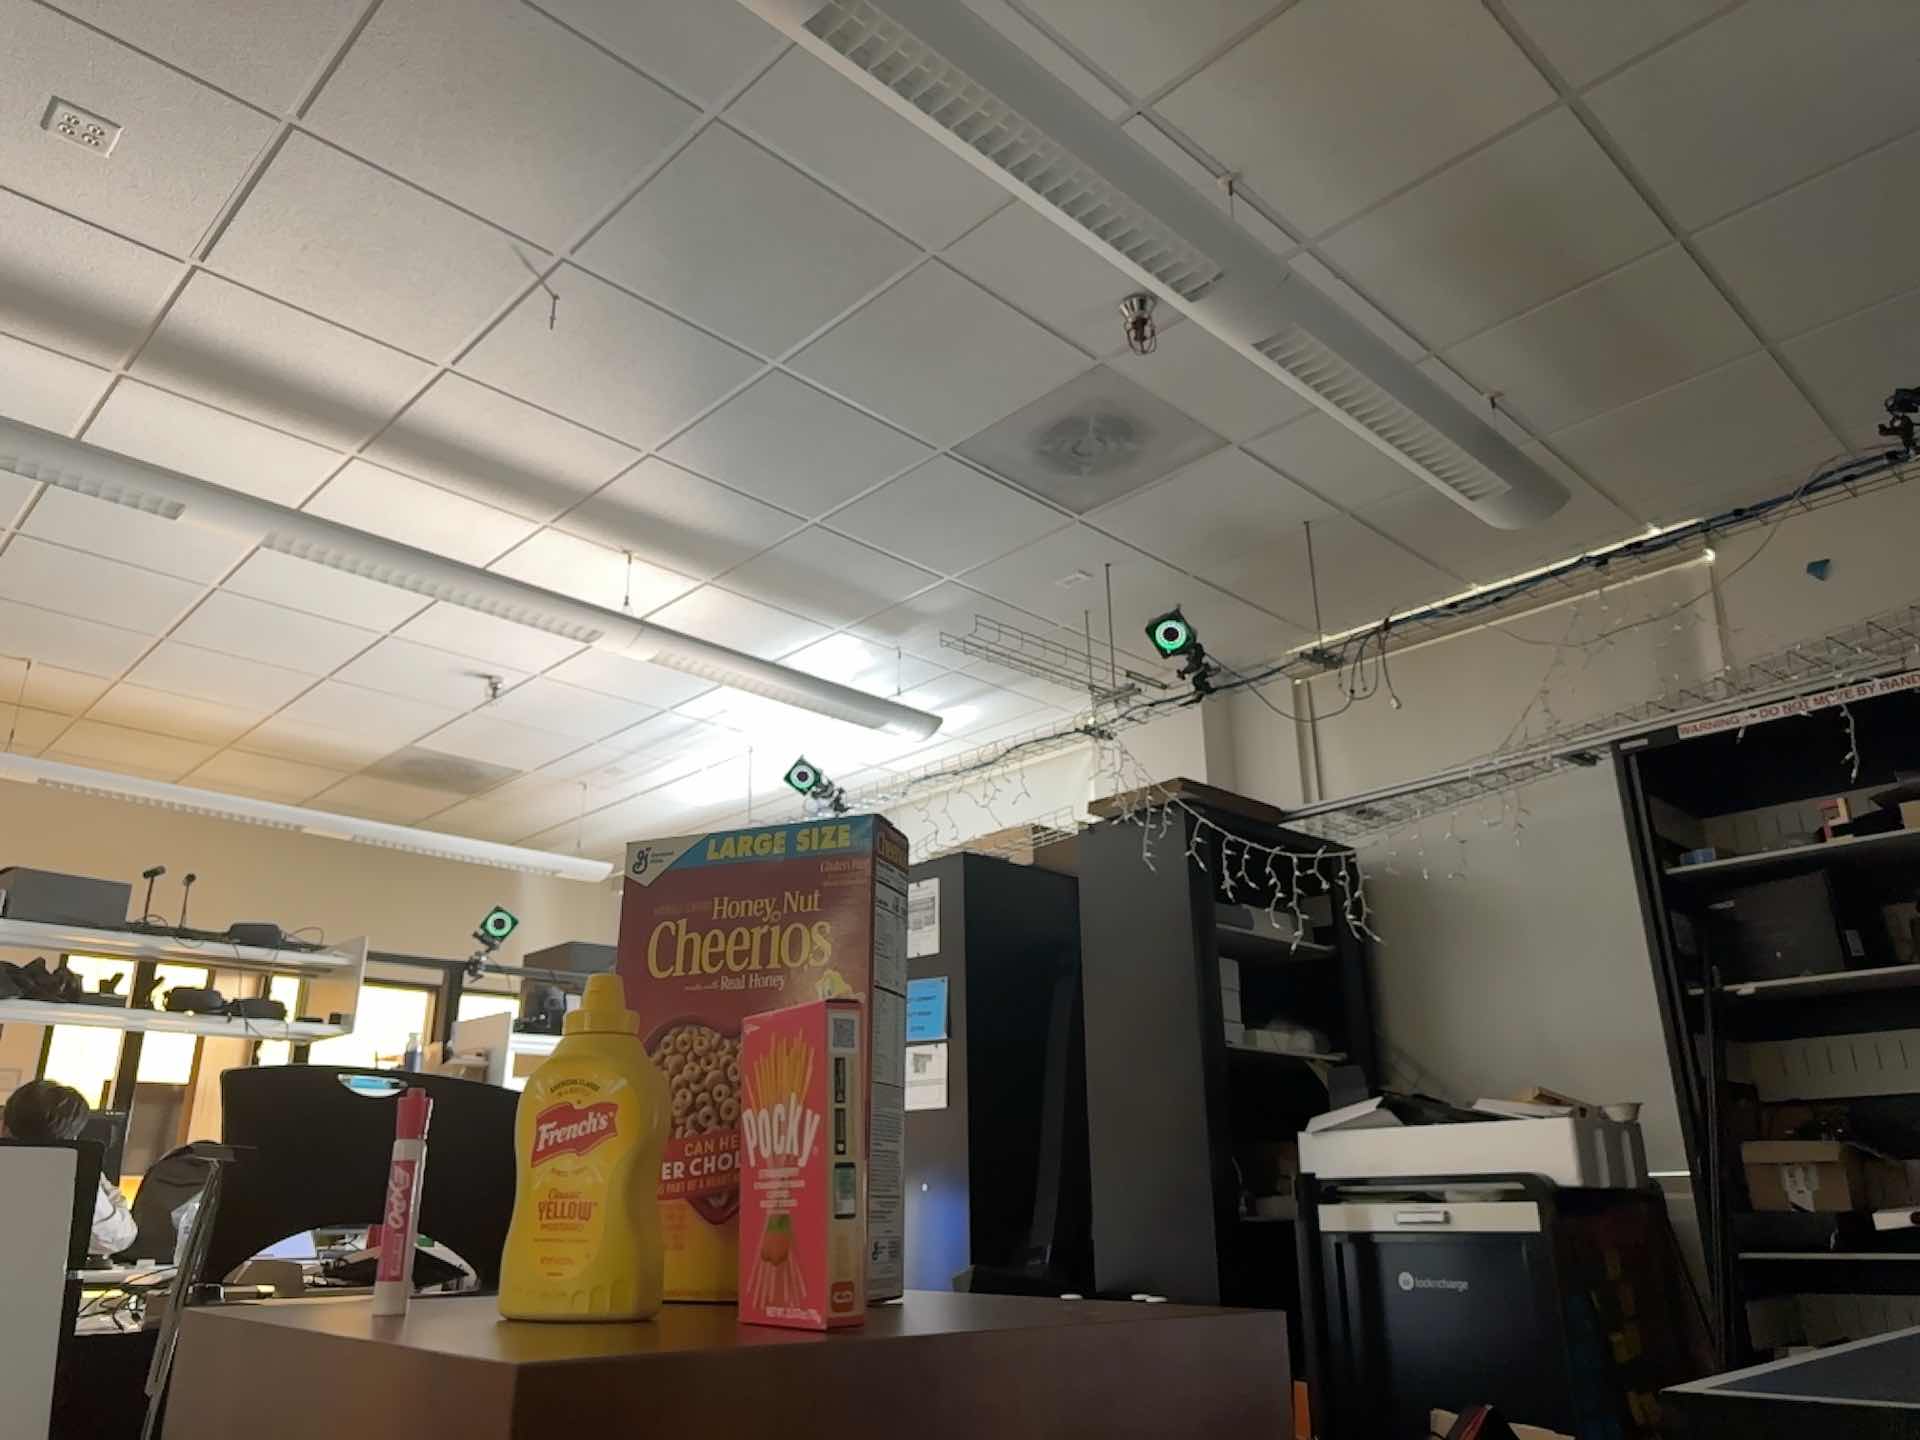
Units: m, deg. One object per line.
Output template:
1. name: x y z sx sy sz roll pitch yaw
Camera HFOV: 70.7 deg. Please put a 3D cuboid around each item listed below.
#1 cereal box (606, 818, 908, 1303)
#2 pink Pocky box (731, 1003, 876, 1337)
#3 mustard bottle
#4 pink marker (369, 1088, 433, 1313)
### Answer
1. cereal box: -0.143 0.227 0.916 0.195 0.296 0.065 -6 -20 17
2. pink Pocky box: -0.080 0.226 0.684 0.029 0.154 0.084 17 -26 -42
3. mustard bottle: -0.205 0.232 0.745 0.092 0.184 0.054 -9 -20 20
4. pink marker: -0.320 0.274 0.776 0.020 0.121 0.020 1 -19 0
